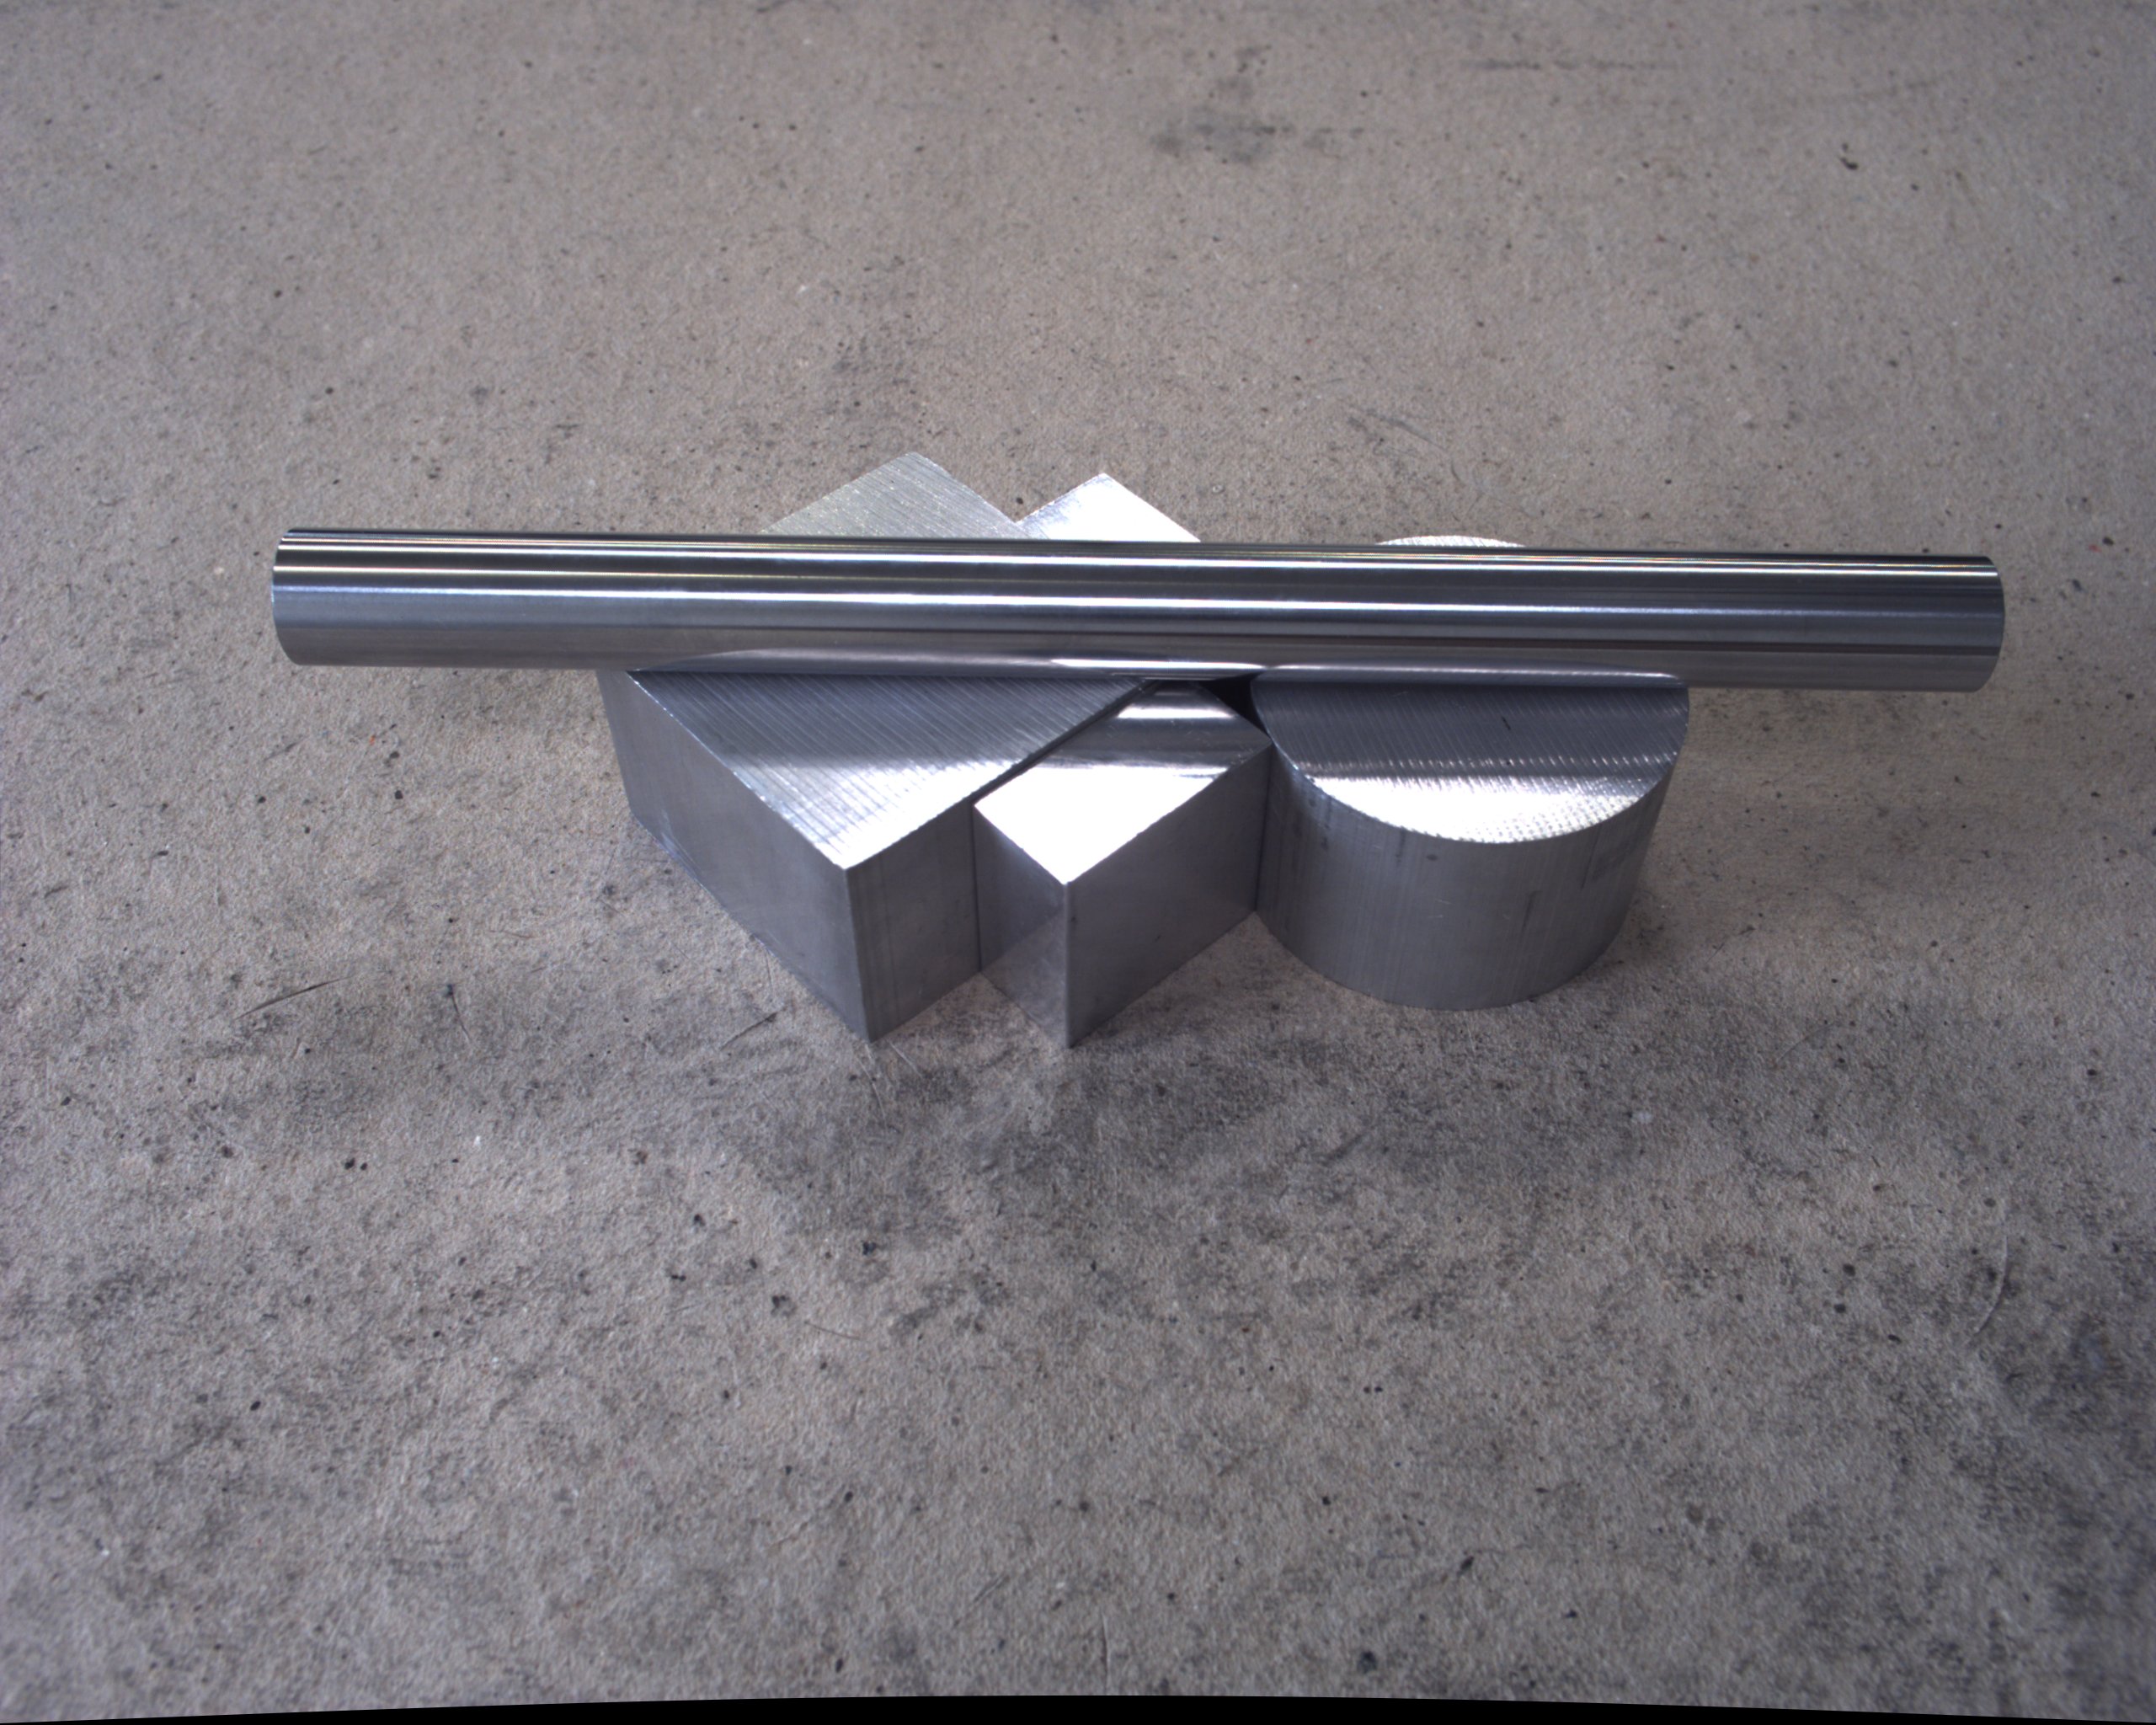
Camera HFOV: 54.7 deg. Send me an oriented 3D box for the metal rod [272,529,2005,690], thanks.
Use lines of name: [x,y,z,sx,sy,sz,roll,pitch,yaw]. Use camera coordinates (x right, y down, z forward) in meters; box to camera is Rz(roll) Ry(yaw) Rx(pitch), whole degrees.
metal rod: [0.010,-0.045,0.376,0.302,0.025,0.025,1,50,0]

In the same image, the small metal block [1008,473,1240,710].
small metal block: [0.012,-0.043,0.425,0.025,0.050,0.050,-35,59,-26]

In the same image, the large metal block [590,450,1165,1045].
large metal block: [-0.037,-0.025,0.407,0.080,0.050,0.080,-35,58,-26]

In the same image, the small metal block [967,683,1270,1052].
small metal block: [0.007,0.000,0.390,0.050,0.050,0.025,-35,59,-26]

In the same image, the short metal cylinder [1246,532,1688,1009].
short metal cylinder: [0.072,-0.019,0.404,0.081,0.050,0.080,0,50,0]
